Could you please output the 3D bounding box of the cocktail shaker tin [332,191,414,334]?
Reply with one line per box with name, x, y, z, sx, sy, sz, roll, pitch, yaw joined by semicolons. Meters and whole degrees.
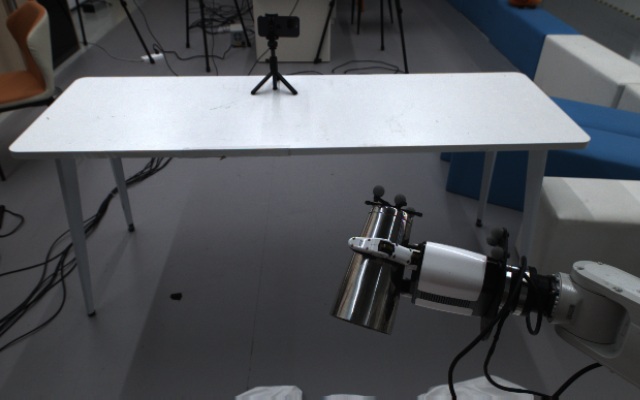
cocktail shaker tin;0.083;0.098;0.703;0.093;0.093;0.170;14;75;16
